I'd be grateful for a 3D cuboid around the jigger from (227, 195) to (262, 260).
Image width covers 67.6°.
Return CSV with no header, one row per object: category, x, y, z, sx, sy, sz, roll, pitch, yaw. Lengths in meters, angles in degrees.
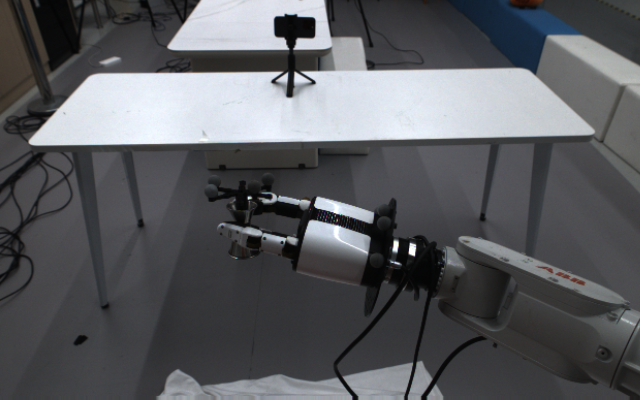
jigger,-0.101,0.039,0.640,0.043,0.071,0.043,0,21,0
